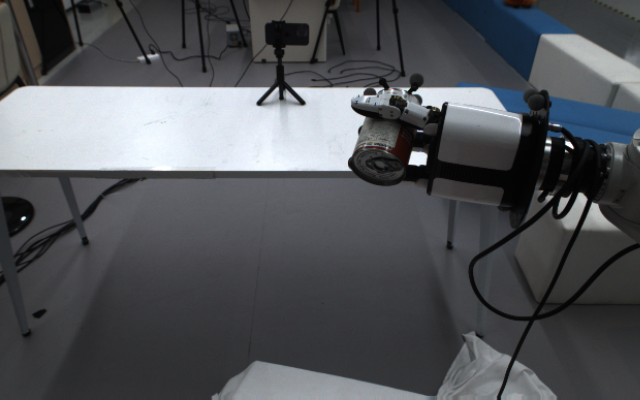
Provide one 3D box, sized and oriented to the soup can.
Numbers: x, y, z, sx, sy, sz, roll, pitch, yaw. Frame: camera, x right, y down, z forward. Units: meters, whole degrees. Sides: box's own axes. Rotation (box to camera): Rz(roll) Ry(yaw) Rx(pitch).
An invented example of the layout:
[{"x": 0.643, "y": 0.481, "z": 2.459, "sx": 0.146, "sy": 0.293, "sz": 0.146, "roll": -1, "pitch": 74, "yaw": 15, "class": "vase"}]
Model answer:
[{"x": 0.082, "y": -0.080, "z": 0.590, "sx": 0.067, "sy": 0.067, "sz": 0.101, "roll": 12, "pitch": 59, "yaw": 14, "class": "soup can"}]
